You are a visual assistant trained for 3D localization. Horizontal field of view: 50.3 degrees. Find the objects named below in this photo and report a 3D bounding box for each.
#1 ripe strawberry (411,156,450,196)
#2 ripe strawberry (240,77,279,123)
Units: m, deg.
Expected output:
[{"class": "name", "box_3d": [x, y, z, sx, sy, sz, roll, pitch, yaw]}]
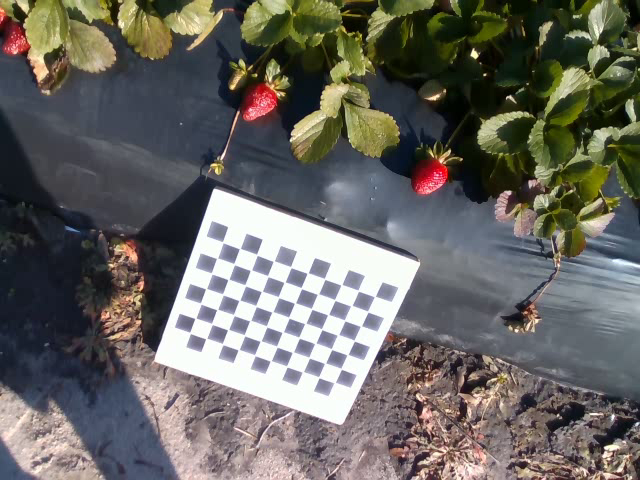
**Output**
[{"class": "ripe strawberry", "box_3d": [0.118, -0.066, 0.746, 0.043, 0.042, 0.050, -12, 30, 52]}, {"class": "ripe strawberry", "box_3d": [-0.070, -0.151, 0.731, 0.042, 0.053, 0.043, 30, -25, -12]}]
